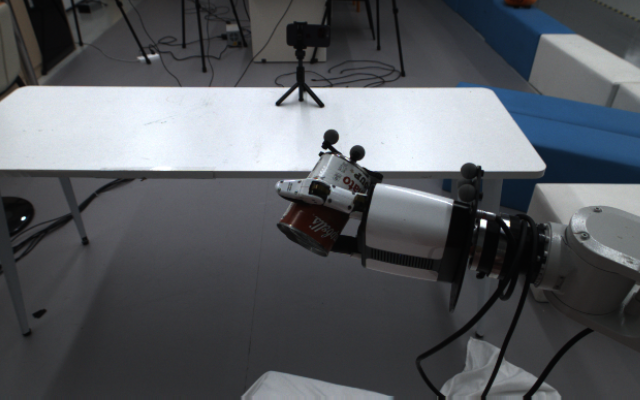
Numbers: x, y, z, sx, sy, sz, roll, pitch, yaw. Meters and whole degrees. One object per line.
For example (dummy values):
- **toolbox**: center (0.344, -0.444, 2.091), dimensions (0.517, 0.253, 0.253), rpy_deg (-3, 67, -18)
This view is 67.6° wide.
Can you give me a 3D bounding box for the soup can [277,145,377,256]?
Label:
- **soup can**: center (0.007, 0.005, 0.552), dimensions (0.067, 0.067, 0.101), rpy_deg (24, 73, 28)
